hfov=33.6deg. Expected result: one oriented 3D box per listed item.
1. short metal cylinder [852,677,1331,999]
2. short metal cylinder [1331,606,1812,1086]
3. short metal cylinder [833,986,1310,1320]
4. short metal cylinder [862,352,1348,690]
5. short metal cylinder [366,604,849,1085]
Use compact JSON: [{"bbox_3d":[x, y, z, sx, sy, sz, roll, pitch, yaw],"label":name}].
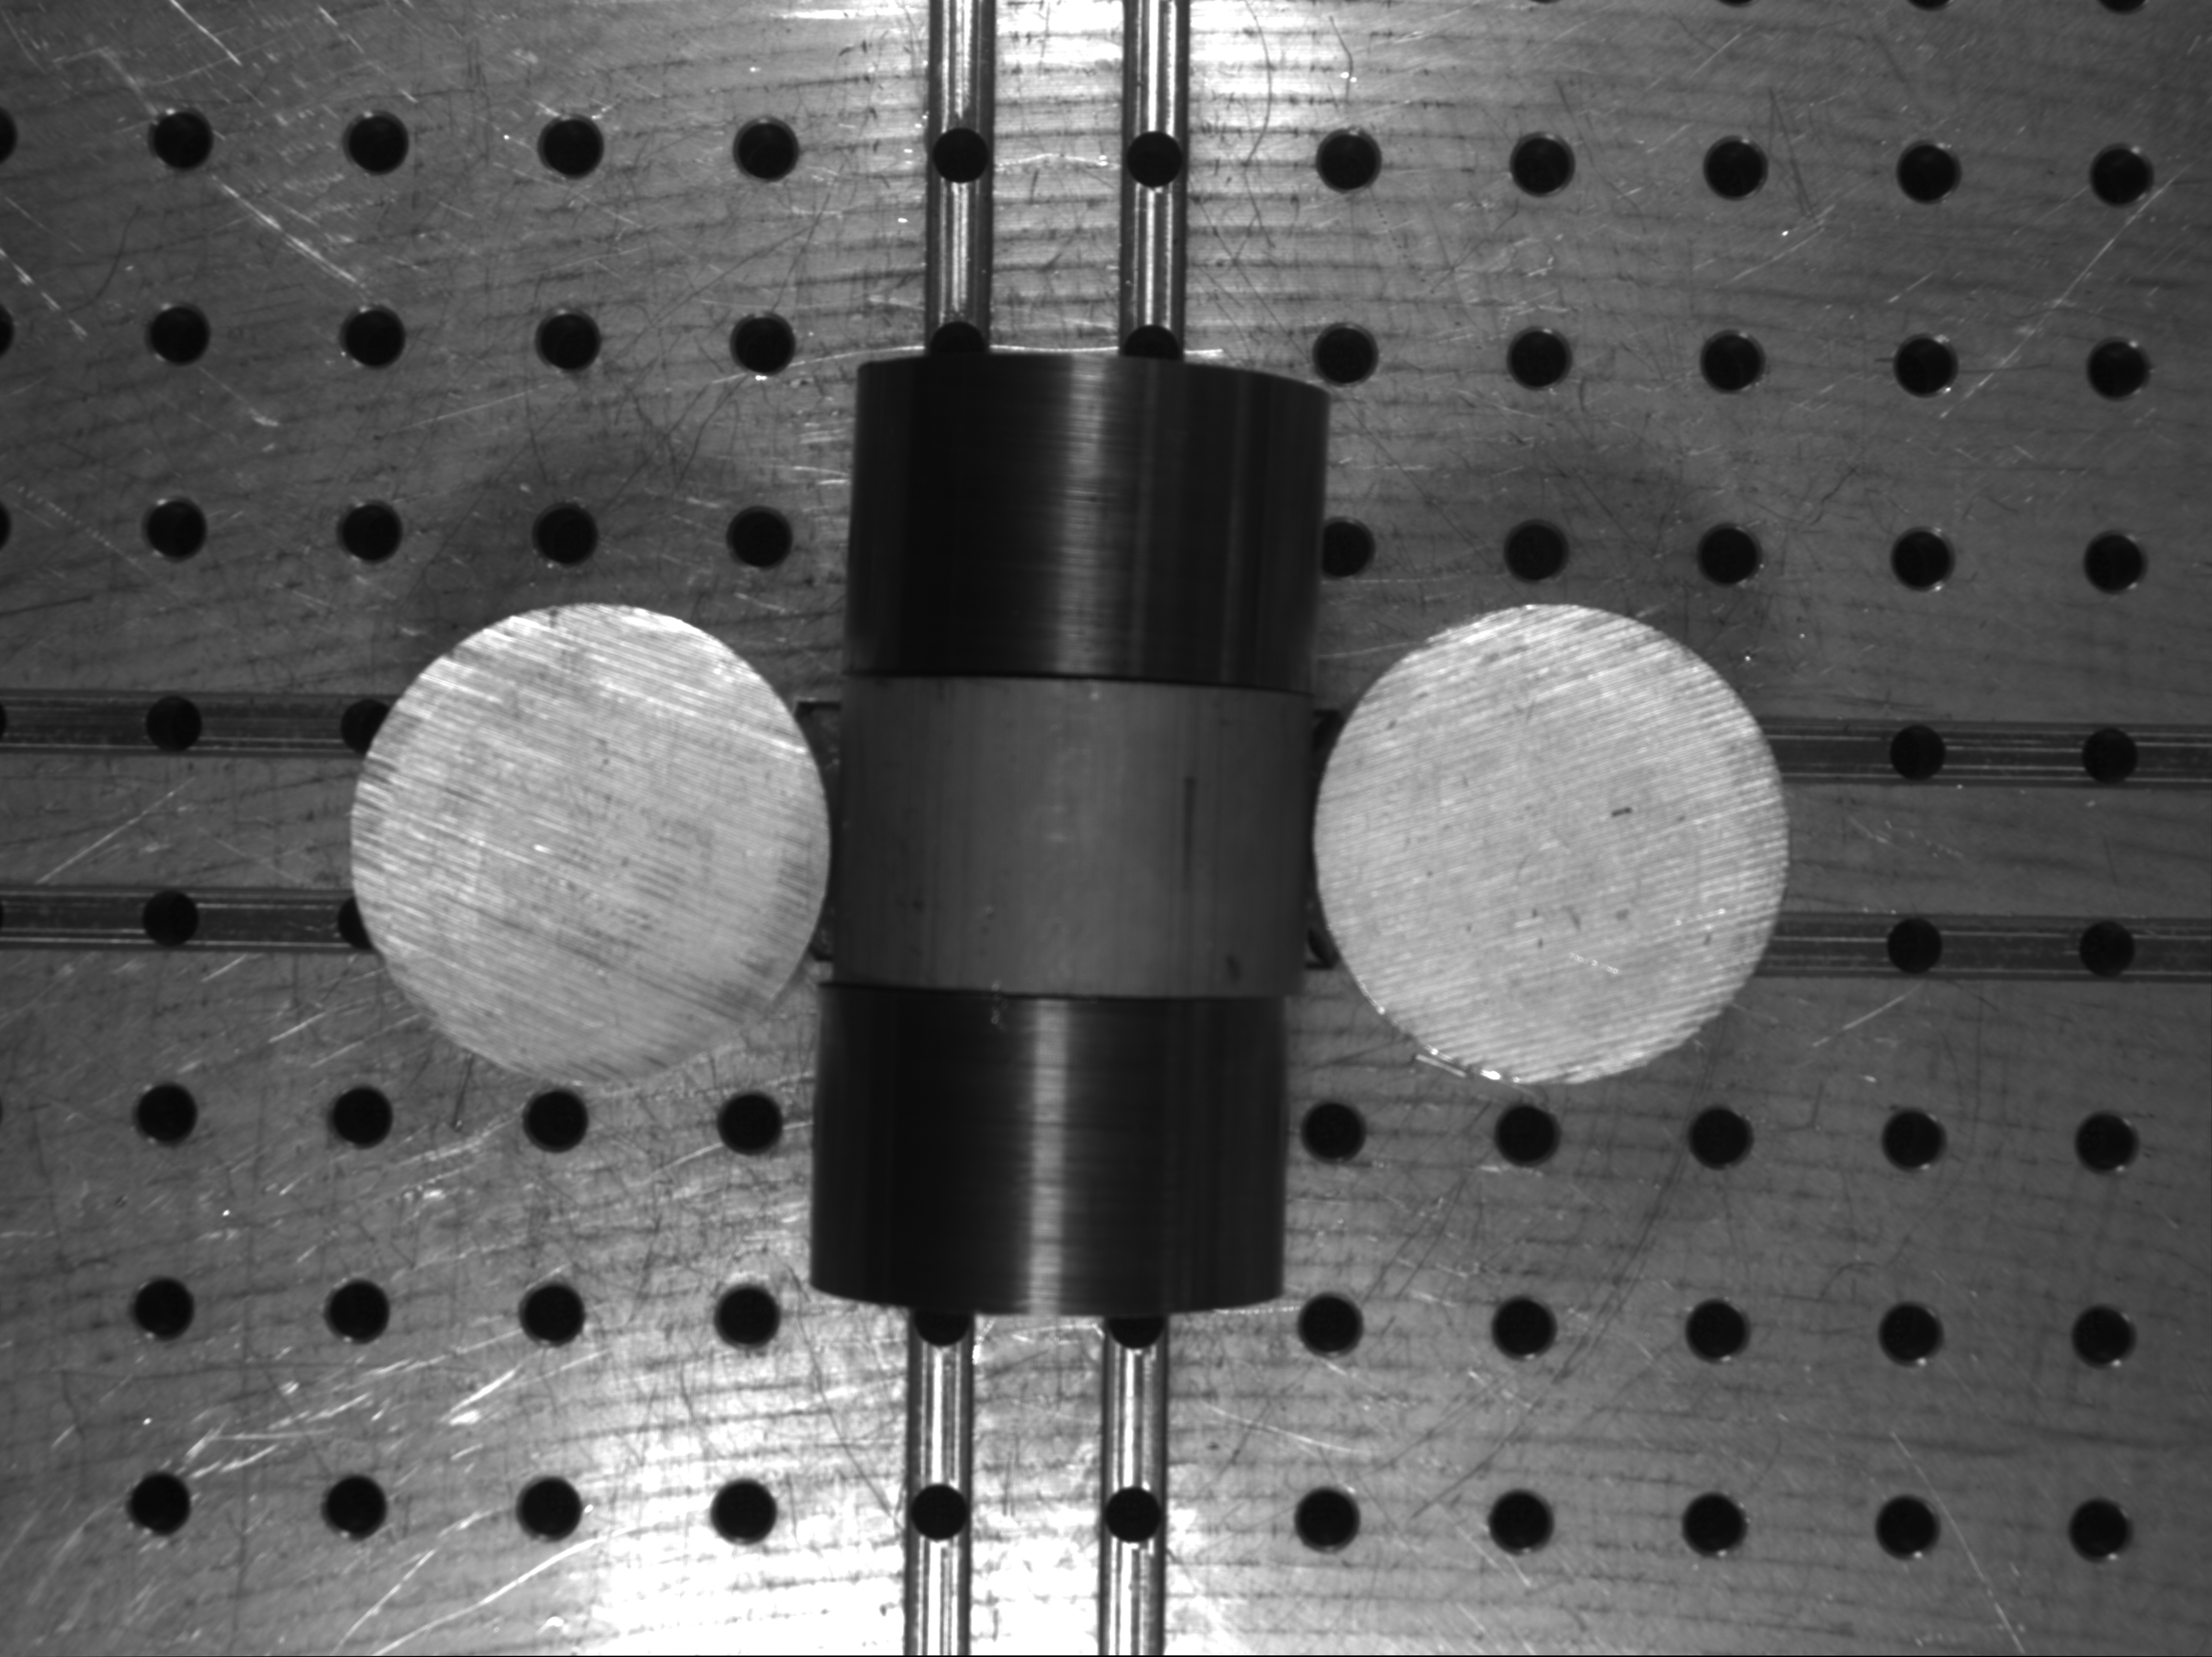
[{"bbox_3d":[-0.003,0.002,0.620,0.080,0.080,0.050,2,90,0],"label":"short metal cylinder"},{"bbox_3d":[0.078,0.003,0.635,0.080,0.050,0.080,0,90,0],"label":"short metal cylinder"},{"bbox_3d":[-0.006,0.053,0.619,0.080,0.080,0.050,1,90,0],"label":"short metal cylinder"},{"bbox_3d":[0.000,-0.050,0.619,0.080,0.080,0.050,3,90,0],"label":"short metal cylinder"},{"bbox_3d":[-0.083,0.003,0.633,0.080,0.050,0.080,0,90,0],"label":"short metal cylinder"}]
